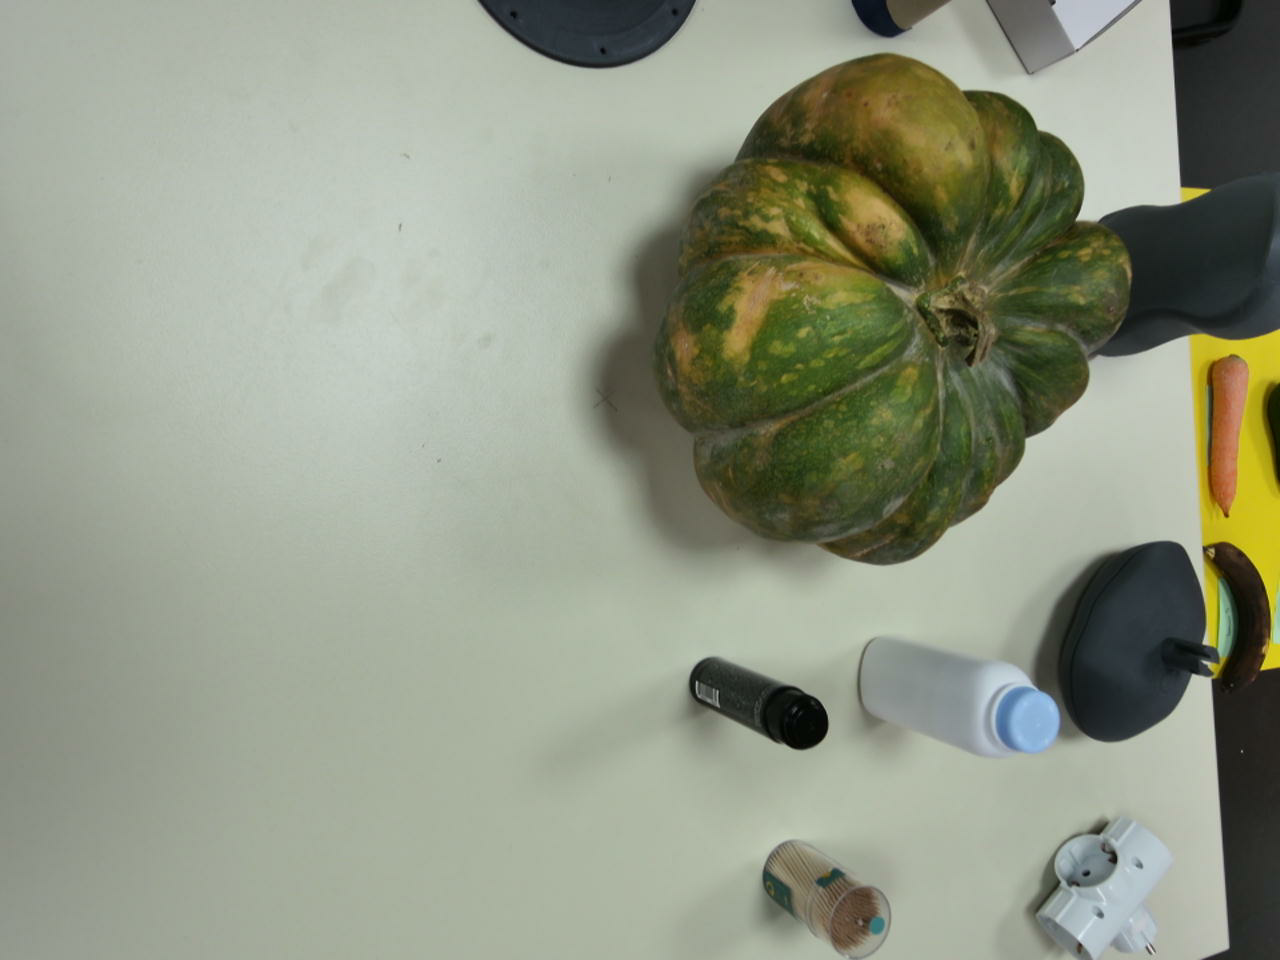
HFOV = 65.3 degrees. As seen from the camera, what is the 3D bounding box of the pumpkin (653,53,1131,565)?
[{"bbox_3d":[0.130,-0.084,0.529,0.237,0.173,0.270,34,79,-19],"label":"pumpkin"}]
